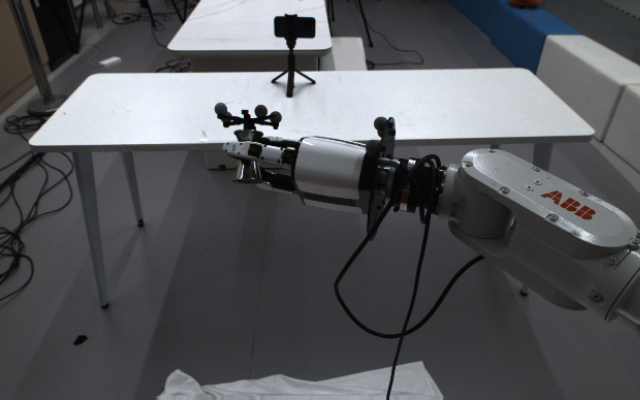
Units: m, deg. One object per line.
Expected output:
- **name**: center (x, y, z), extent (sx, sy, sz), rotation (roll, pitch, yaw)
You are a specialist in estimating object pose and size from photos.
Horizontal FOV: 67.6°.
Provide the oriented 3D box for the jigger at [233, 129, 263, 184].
- **jigger**: center (-0.099, -0.058, 0.659), extent (0.043, 0.071, 0.043), rotation (0, -5, 0)
